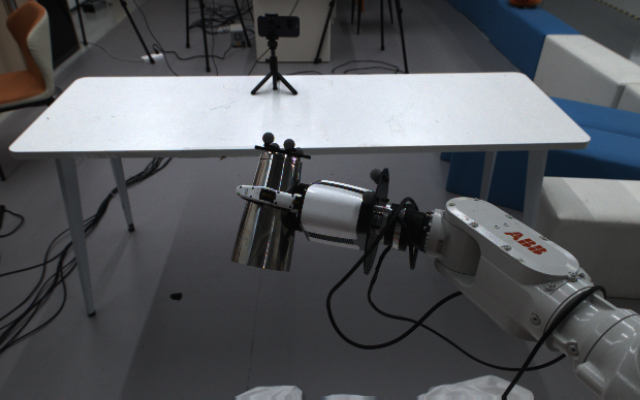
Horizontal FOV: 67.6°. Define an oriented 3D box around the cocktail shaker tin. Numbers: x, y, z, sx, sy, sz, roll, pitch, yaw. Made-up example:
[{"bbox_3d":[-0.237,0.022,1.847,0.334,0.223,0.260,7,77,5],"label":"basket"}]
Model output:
[{"bbox_3d":[-0.075,0.017,0.741,0.093,0.170,0.093,11,-5,1],"label":"cocktail shaker tin"}]
